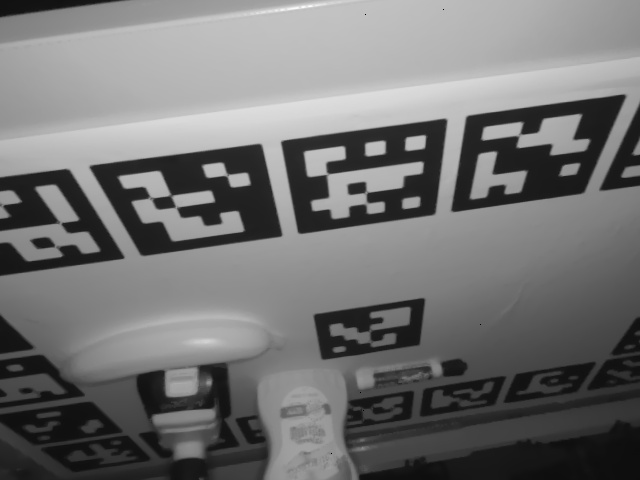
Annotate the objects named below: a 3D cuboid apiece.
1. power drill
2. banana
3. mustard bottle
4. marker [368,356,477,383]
[{"bbox_3d":[-0.110,0.203,0.634,0.058,0.188,0.182,3,142,-11],"label":"power drill"},{"bbox_3d":[-0.115,0.073,0.628,0.199,0.039,0.073,-3,139,-10],"label":"banana"},{"bbox_3d":[-0.003,0.218,0.700,0.097,0.192,0.058,2,140,-10],"label":"mustard bottle"},{"bbox_3d":[0.114,0.143,0.768,0.121,0.020,0.019,-5,140,-4],"label":"marker"}]
